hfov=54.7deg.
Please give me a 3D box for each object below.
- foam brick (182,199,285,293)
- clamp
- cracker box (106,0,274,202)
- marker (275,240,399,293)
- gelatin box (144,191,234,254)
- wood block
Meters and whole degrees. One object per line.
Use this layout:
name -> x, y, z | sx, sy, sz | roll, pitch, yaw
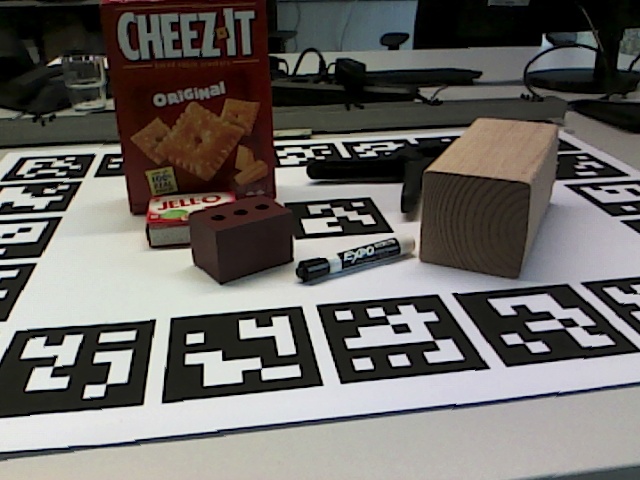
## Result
foam brick -> -0.078, 0.003, 0.556 | 0.078, 0.051, 0.053 | -18, 35, -29
clamp -> 0.103, -0.095, 0.749 | 0.202, 0.036, 0.166 | -23, 36, -34
cracker box -> -0.134, -0.155, 0.672 | 0.164, 0.213, 0.072 | -5, 27, -12
marker -> 0.016, 0.023, 0.548 | 0.120, 0.019, 0.020 | -15, 33, -25
gelatin box -> -0.131, -0.020, 0.629 | 0.089, 0.030, 0.073 | -5, 30, -9
wood block -> 0.165, -0.048, 0.613 | 0.090, 0.091, 0.205 | 10, 27, 24
